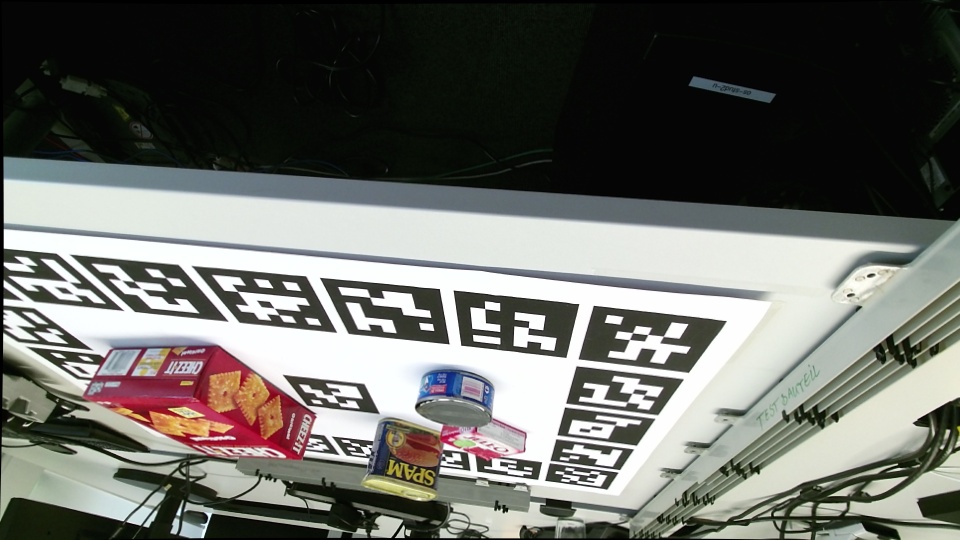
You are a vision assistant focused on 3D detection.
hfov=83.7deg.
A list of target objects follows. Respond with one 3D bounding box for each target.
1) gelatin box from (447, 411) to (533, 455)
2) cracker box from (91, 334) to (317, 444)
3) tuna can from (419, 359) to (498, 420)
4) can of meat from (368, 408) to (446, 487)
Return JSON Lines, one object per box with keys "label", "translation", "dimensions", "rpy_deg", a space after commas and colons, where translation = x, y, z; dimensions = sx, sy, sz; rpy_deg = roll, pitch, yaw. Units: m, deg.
{"label": "gelatin box", "translation": [0.014, 0.216, 0.712], "dimensions": [0.090, 0.030, 0.073], "rpy_deg": [34, 141, -27]}
{"label": "cracker box", "translation": [-0.342, 0.159, 0.688], "dimensions": [0.165, 0.071, 0.214], "rpy_deg": [-3, 145, 20]}
{"label": "tuna can", "translation": [-0.023, 0.134, 0.596], "dimensions": [0.086, 0.033, 0.086], "rpy_deg": [5, 142, 4]}
{"label": "can of meat", "translation": [-0.100, 0.247, 0.749], "dimensions": [0.102, 0.083, 0.058], "rpy_deg": [23, 143, -20]}
